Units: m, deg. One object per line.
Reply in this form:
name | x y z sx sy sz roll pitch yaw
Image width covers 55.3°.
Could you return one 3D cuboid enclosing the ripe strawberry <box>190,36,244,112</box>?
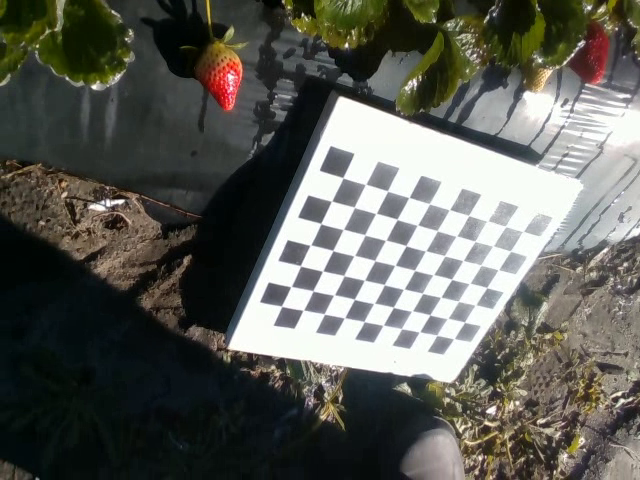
ripe strawberry | -0.072 -0.119 0.446 0.039 0.053 0.040 -6 16 -15
